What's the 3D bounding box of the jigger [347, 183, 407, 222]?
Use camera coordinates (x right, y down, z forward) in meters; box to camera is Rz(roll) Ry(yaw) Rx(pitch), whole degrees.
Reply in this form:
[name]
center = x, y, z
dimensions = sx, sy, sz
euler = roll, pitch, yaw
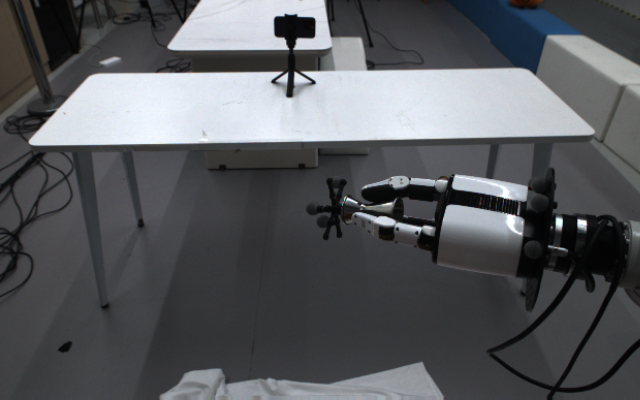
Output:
[jigger]
center = 0.072, 0.008, 0.602
dimensions = 0.071, 0.043, 0.043
euler = 3, 32, 27
